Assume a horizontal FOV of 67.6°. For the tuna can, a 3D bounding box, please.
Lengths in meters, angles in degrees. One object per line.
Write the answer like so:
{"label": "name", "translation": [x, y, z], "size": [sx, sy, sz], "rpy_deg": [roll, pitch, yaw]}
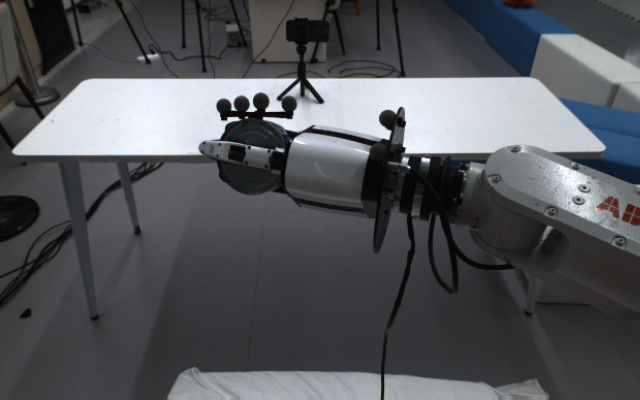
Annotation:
{"label": "tuna can", "translation": [-0.071, -0.050, 0.557], "size": [0.085, 0.085, 0.034], "rpy_deg": [12, 8, 14]}
